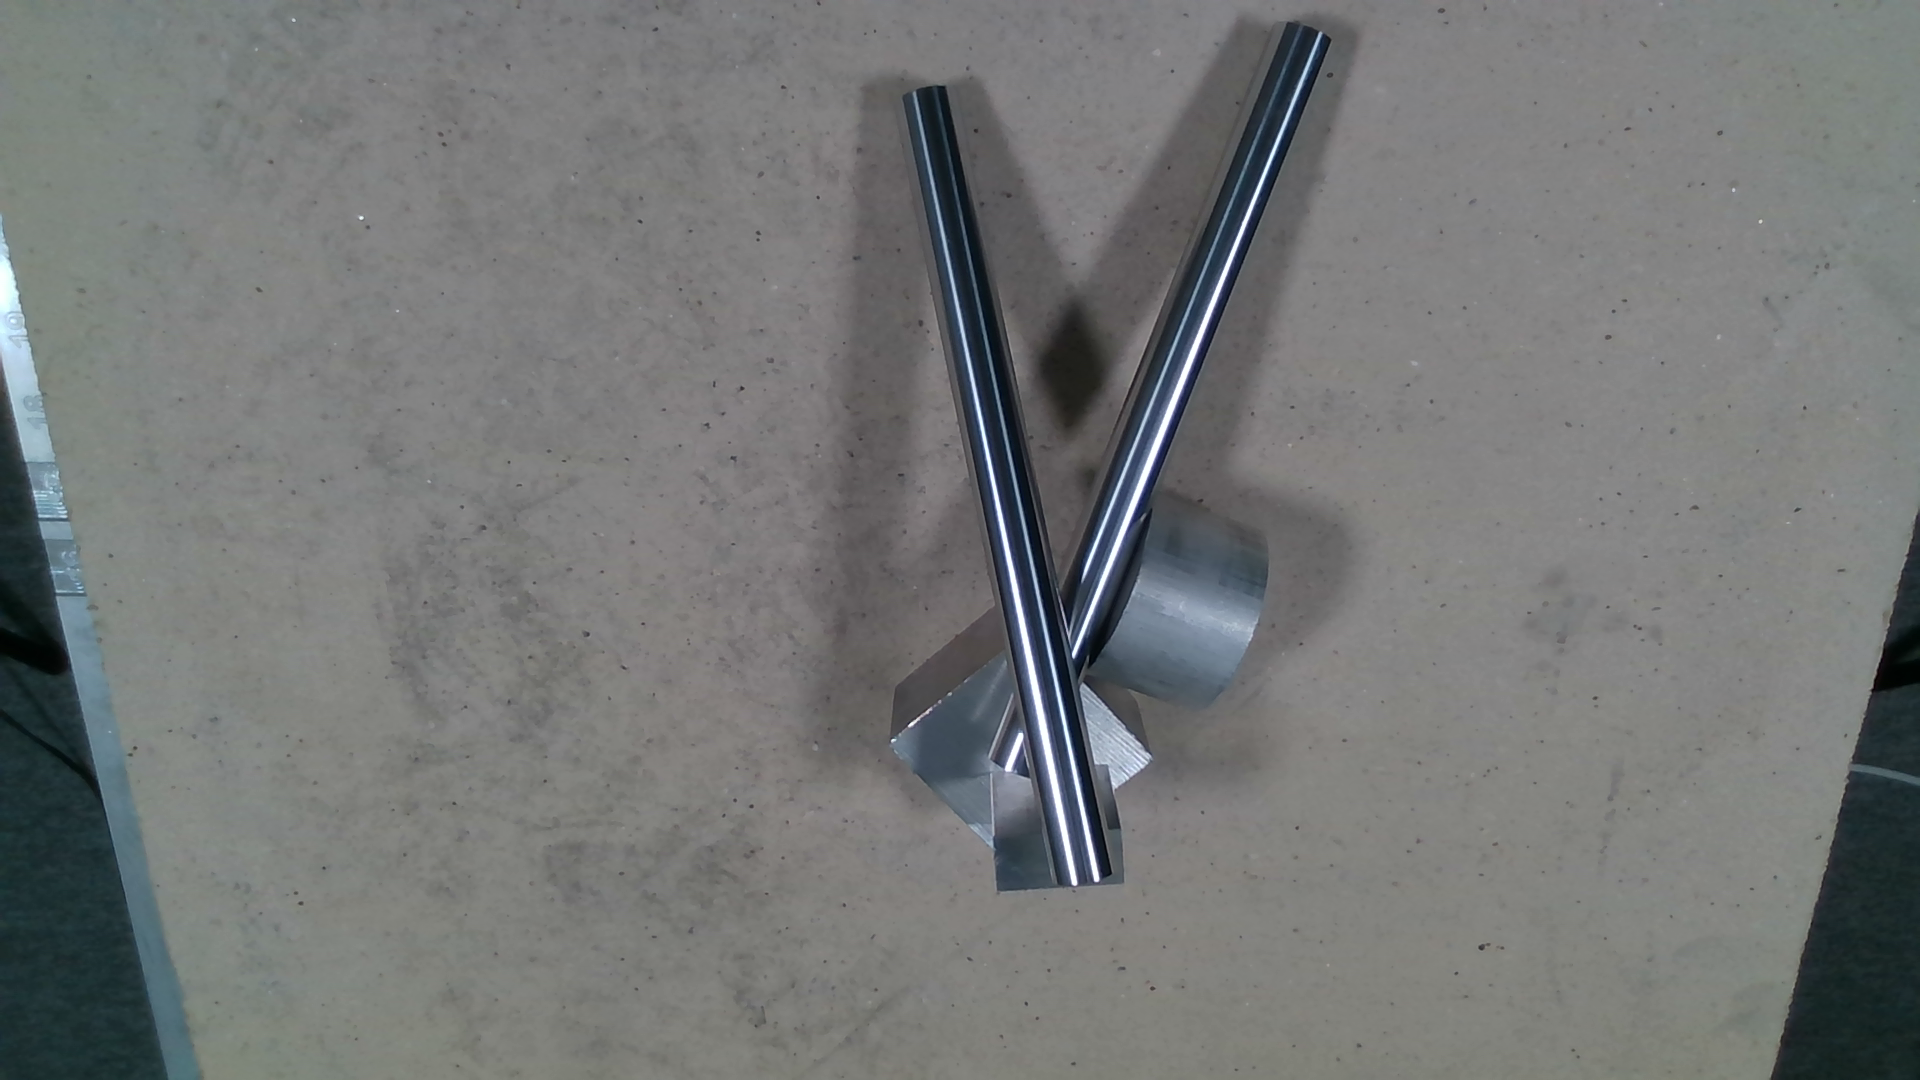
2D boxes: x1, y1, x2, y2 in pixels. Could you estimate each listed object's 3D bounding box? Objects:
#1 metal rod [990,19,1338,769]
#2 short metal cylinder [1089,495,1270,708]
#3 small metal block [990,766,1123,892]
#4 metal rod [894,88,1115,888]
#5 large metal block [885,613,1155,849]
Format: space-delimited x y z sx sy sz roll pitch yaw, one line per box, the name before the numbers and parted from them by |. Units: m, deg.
metal rod | 0.077 -0.051 0.535 0.025 0.025 0.300 20 98 -7
short metal cylinder | 0.086 0.024 0.566 0.050 0.080 0.080 20 109 -7
small metal block | 0.038 0.116 0.558 0.050 0.050 0.025 -4 109 2
metal rod | 0.017 -0.020 0.521 0.025 0.025 0.300 -11 89 4
large metal block | 0.025 0.081 0.600 0.080 0.050 0.080 -40 104 13
